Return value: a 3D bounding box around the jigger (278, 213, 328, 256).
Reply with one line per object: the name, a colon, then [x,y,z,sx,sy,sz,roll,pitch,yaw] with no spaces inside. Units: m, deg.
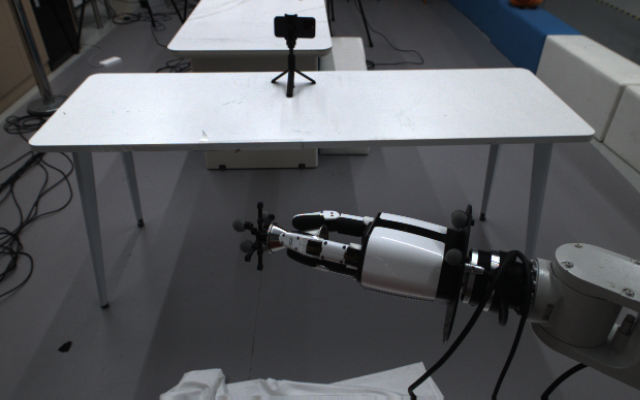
jigger: [-0.020,0.045,0.606,0.071,0.043,0.043,3,34,17]
